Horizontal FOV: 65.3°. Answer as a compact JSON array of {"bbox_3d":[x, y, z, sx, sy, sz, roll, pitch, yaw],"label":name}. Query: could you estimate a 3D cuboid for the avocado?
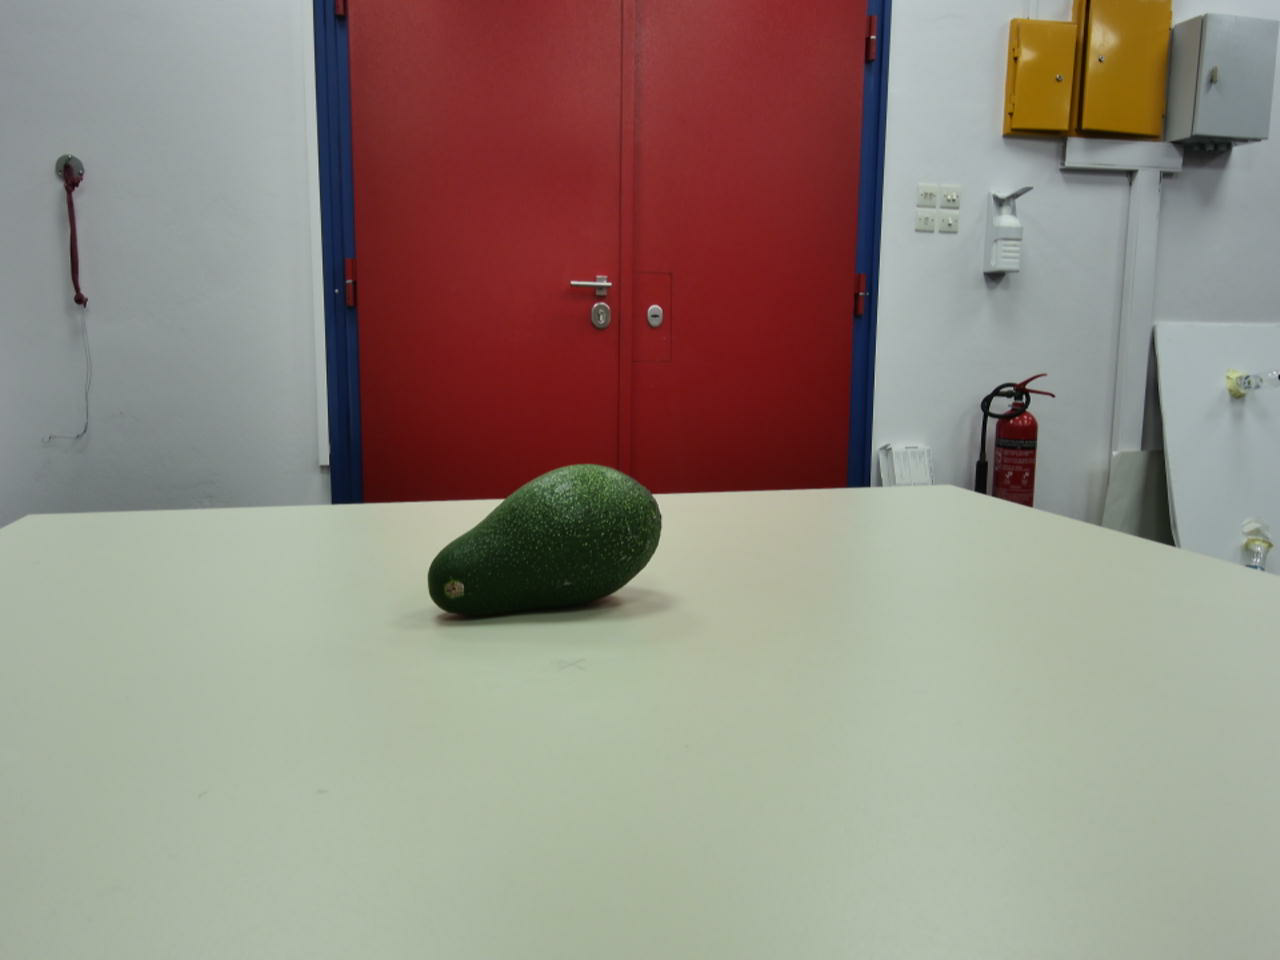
[{"bbox_3d":[-0.049,0.030,0.532,0.123,0.076,0.074,-1,6,-7],"label":"avocado"}]
